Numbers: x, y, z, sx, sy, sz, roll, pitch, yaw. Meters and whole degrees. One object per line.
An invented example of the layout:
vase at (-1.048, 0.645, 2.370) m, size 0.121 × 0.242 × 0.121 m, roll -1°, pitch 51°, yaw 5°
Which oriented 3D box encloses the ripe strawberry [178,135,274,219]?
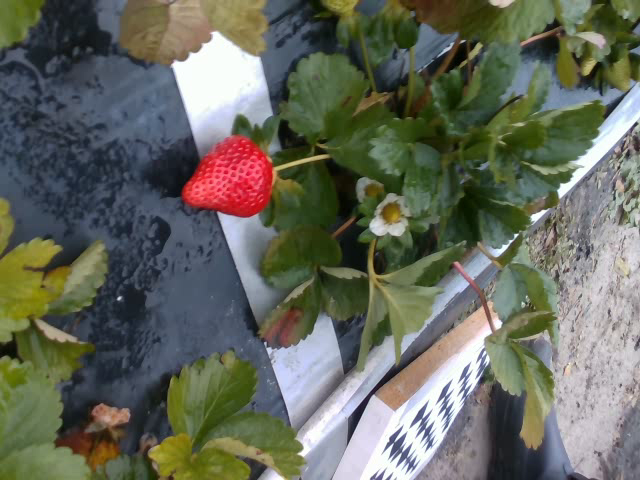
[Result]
ripe strawberry at (-0.042, -0.026, 0.273) m, size 0.038 × 0.041 × 0.051 m, roll 38°, pitch 37°, yaw 21°
